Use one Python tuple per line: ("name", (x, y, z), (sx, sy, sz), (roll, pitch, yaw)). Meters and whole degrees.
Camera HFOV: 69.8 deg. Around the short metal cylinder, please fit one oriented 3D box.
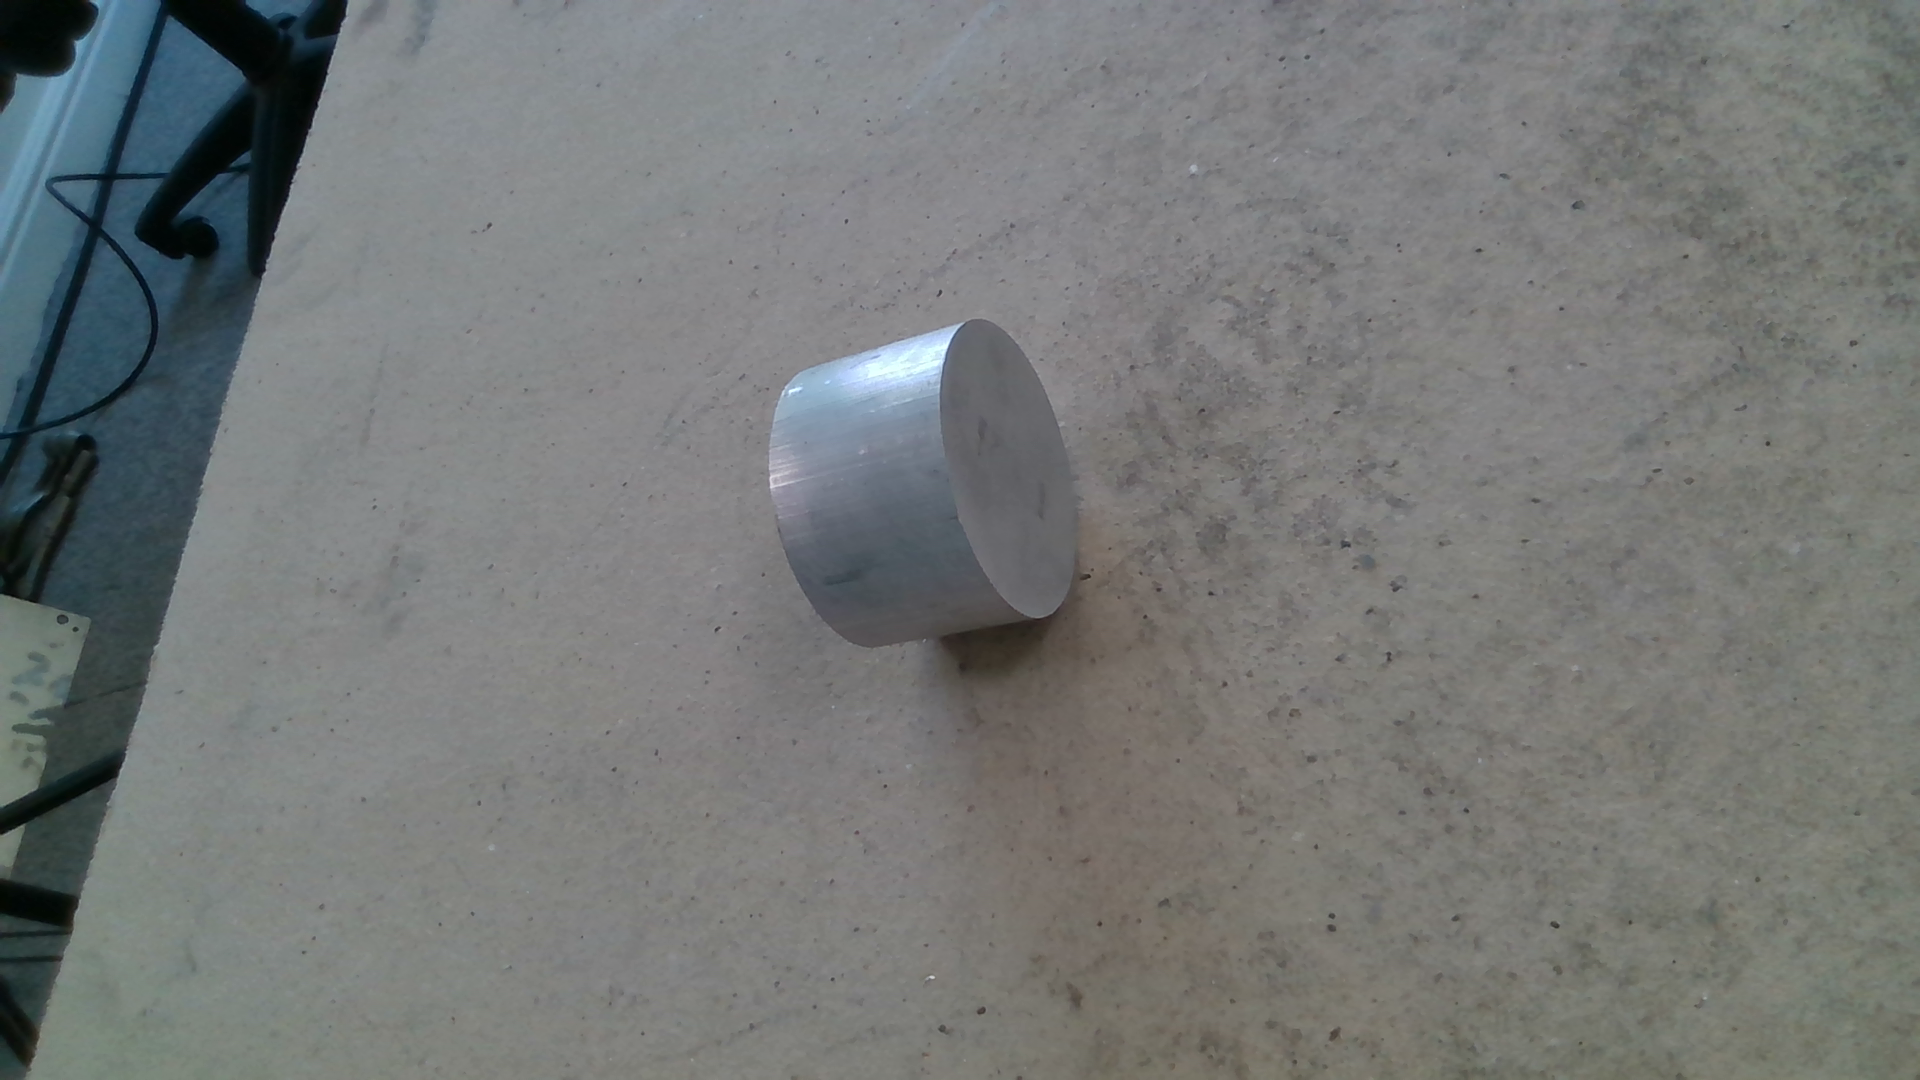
("short metal cylinder", (-0.008, -0.014, 0.370), (0.050, 0.080, 0.080), (-13, 60, 26))
